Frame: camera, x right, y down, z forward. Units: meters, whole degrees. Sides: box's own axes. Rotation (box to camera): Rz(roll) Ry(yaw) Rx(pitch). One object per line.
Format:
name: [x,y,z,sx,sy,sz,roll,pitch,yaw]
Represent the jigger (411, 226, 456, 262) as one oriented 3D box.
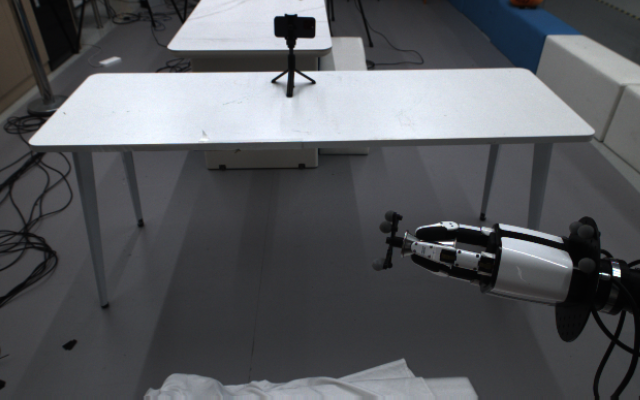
jigger: [0.155,0.062,0.660,0.071,0.043,0.043,10,35,16]
